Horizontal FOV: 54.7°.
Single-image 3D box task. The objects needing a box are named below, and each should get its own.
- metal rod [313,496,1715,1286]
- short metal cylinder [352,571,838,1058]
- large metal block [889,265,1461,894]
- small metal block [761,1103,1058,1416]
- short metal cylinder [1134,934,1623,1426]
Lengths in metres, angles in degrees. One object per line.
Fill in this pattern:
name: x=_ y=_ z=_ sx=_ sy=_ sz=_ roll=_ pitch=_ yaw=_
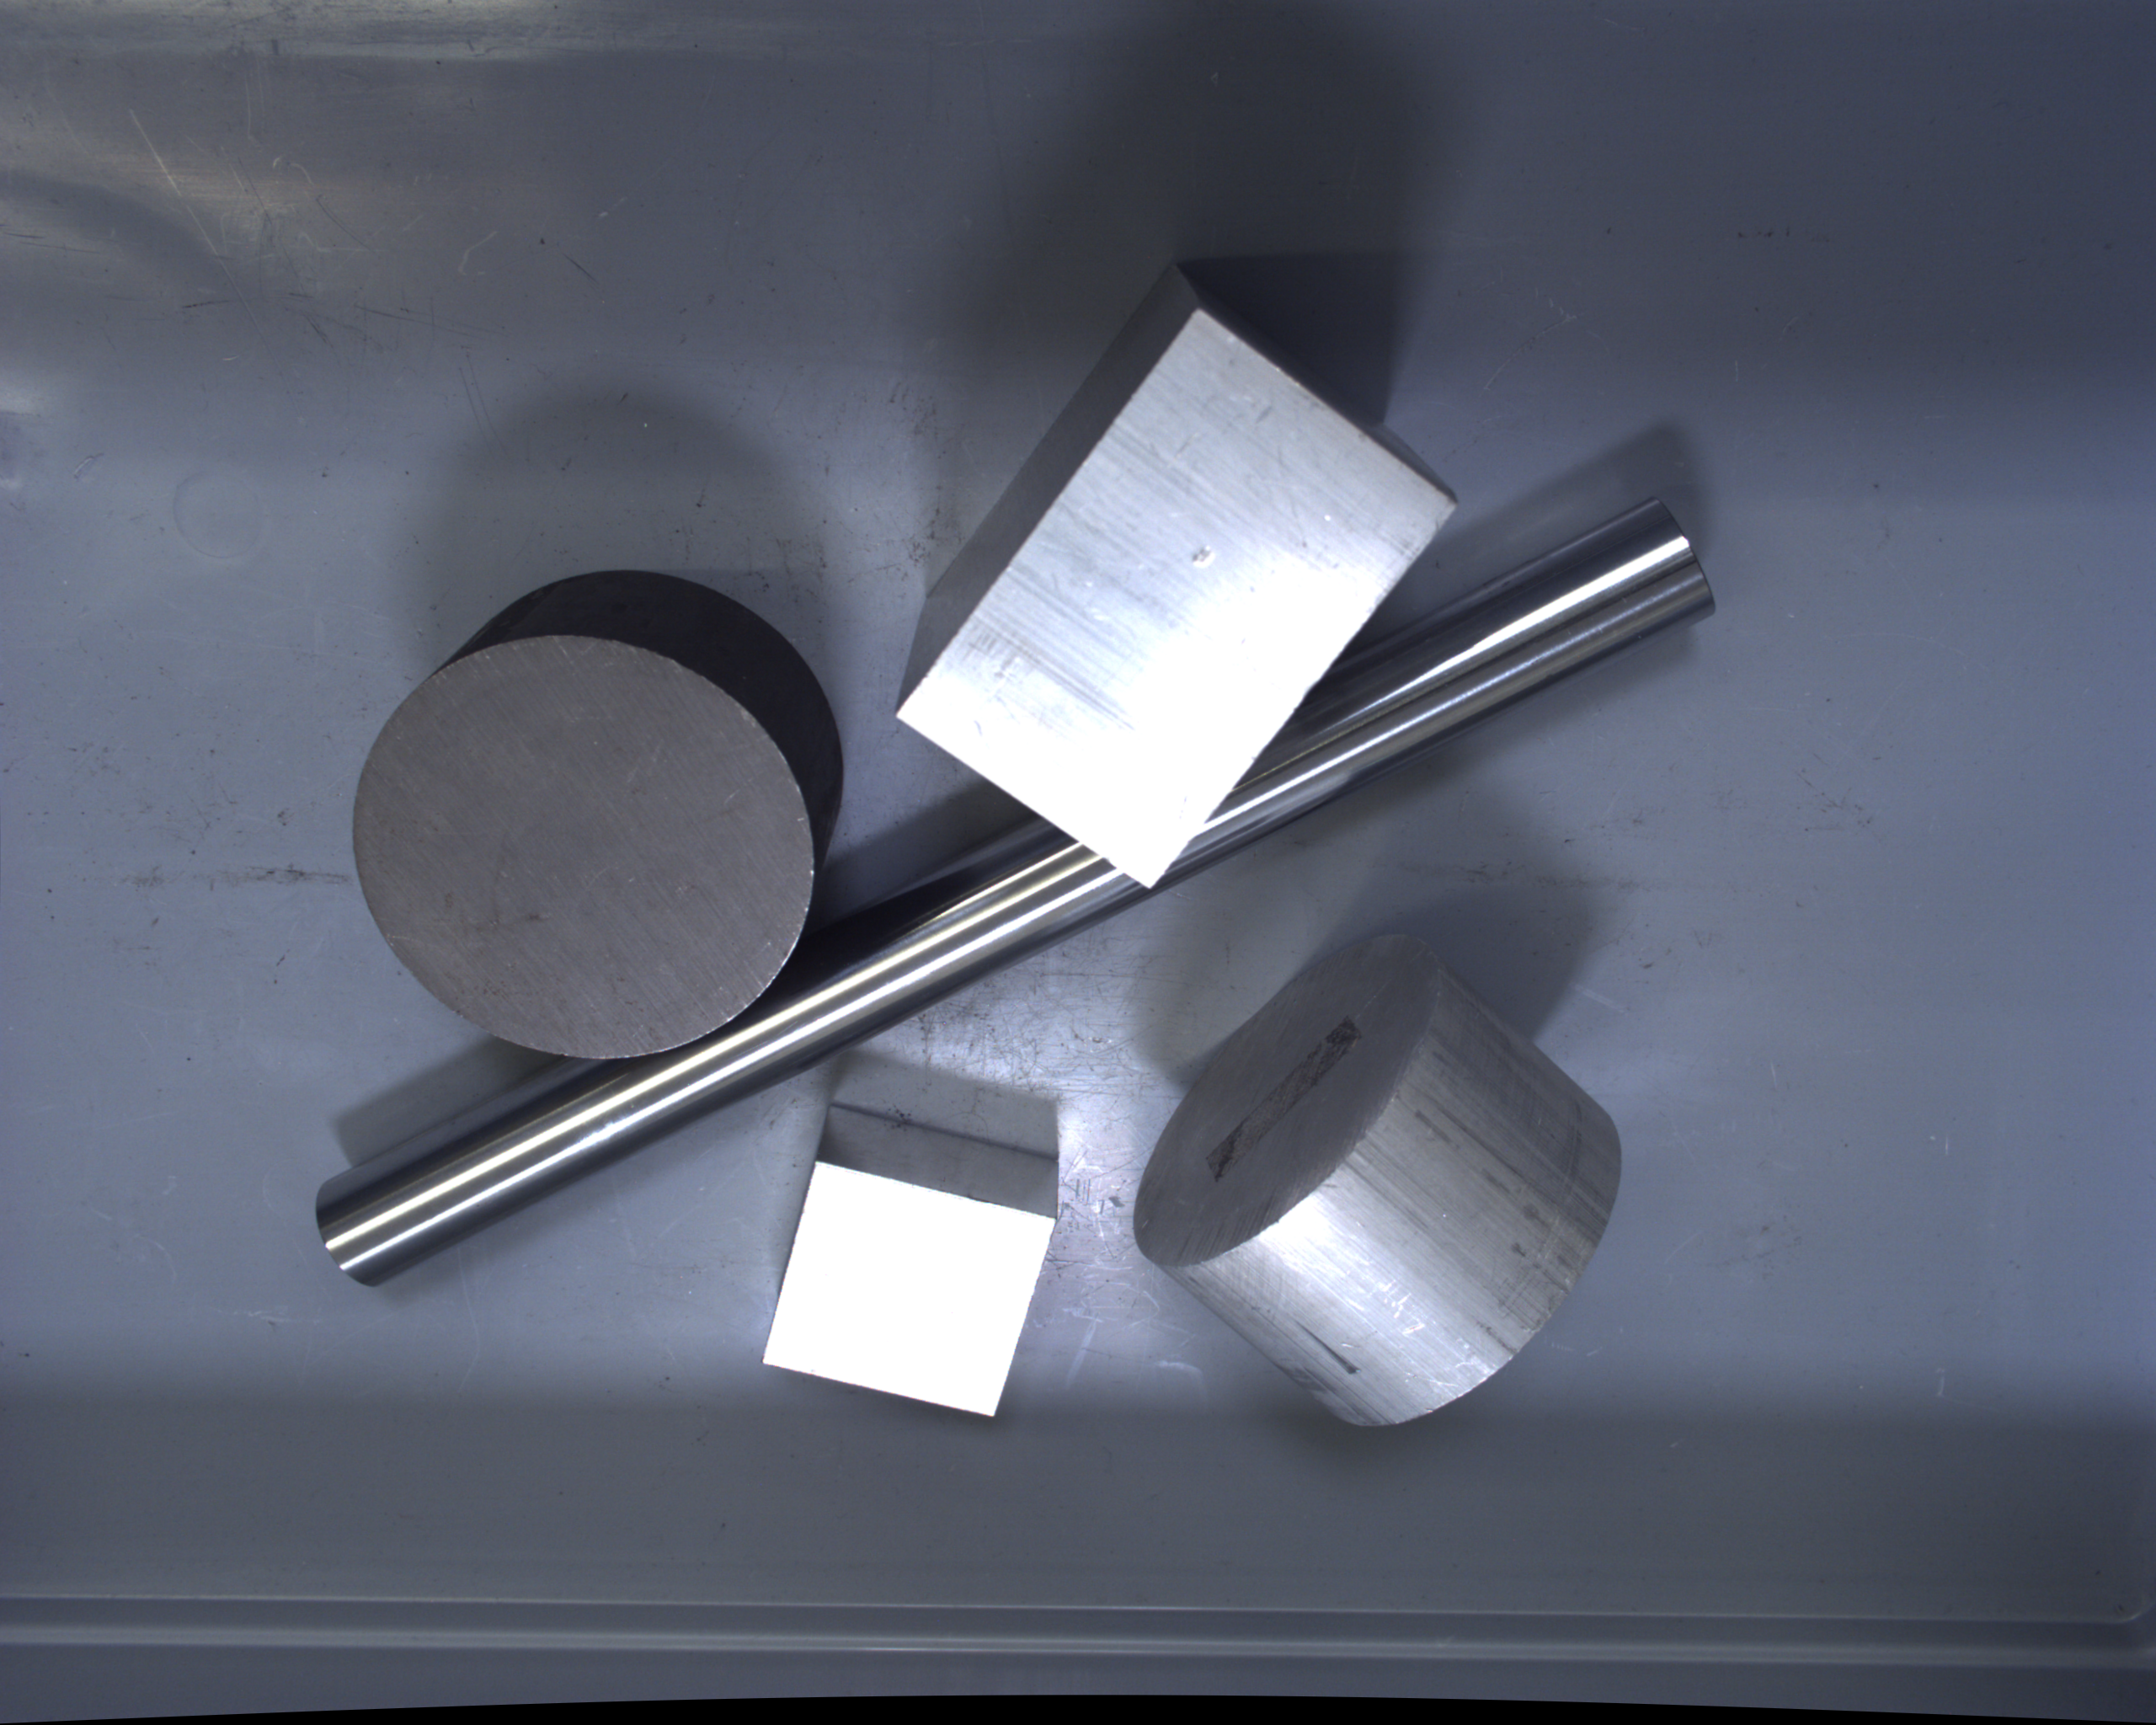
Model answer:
metal rod: x=-0.019 y=0.010 z=0.413 sx=0.301 sy=0.025 sz=0.025 roll=-27 pitch=108 yaw=9
short metal cylinder: x=-0.087 y=-0.010 z=0.391 sx=0.081 sy=0.050 sz=0.079 roll=0 pitch=110 yaw=0
large metal block: x=0.014 y=-0.053 z=0.361 sx=0.050 sy=0.080 sz=0.080 roll=35 pitch=106 yaw=-12
small metal block: x=-0.035 y=0.084 z=0.440 sx=0.050 sy=0.025 sz=0.050 roll=14 pitch=109 yaw=-6
short metal cylinder: x=0.057 y=0.060 z=0.403 sx=0.050 sy=0.080 sz=0.080 roll=42 pitch=105 yaw=-14
